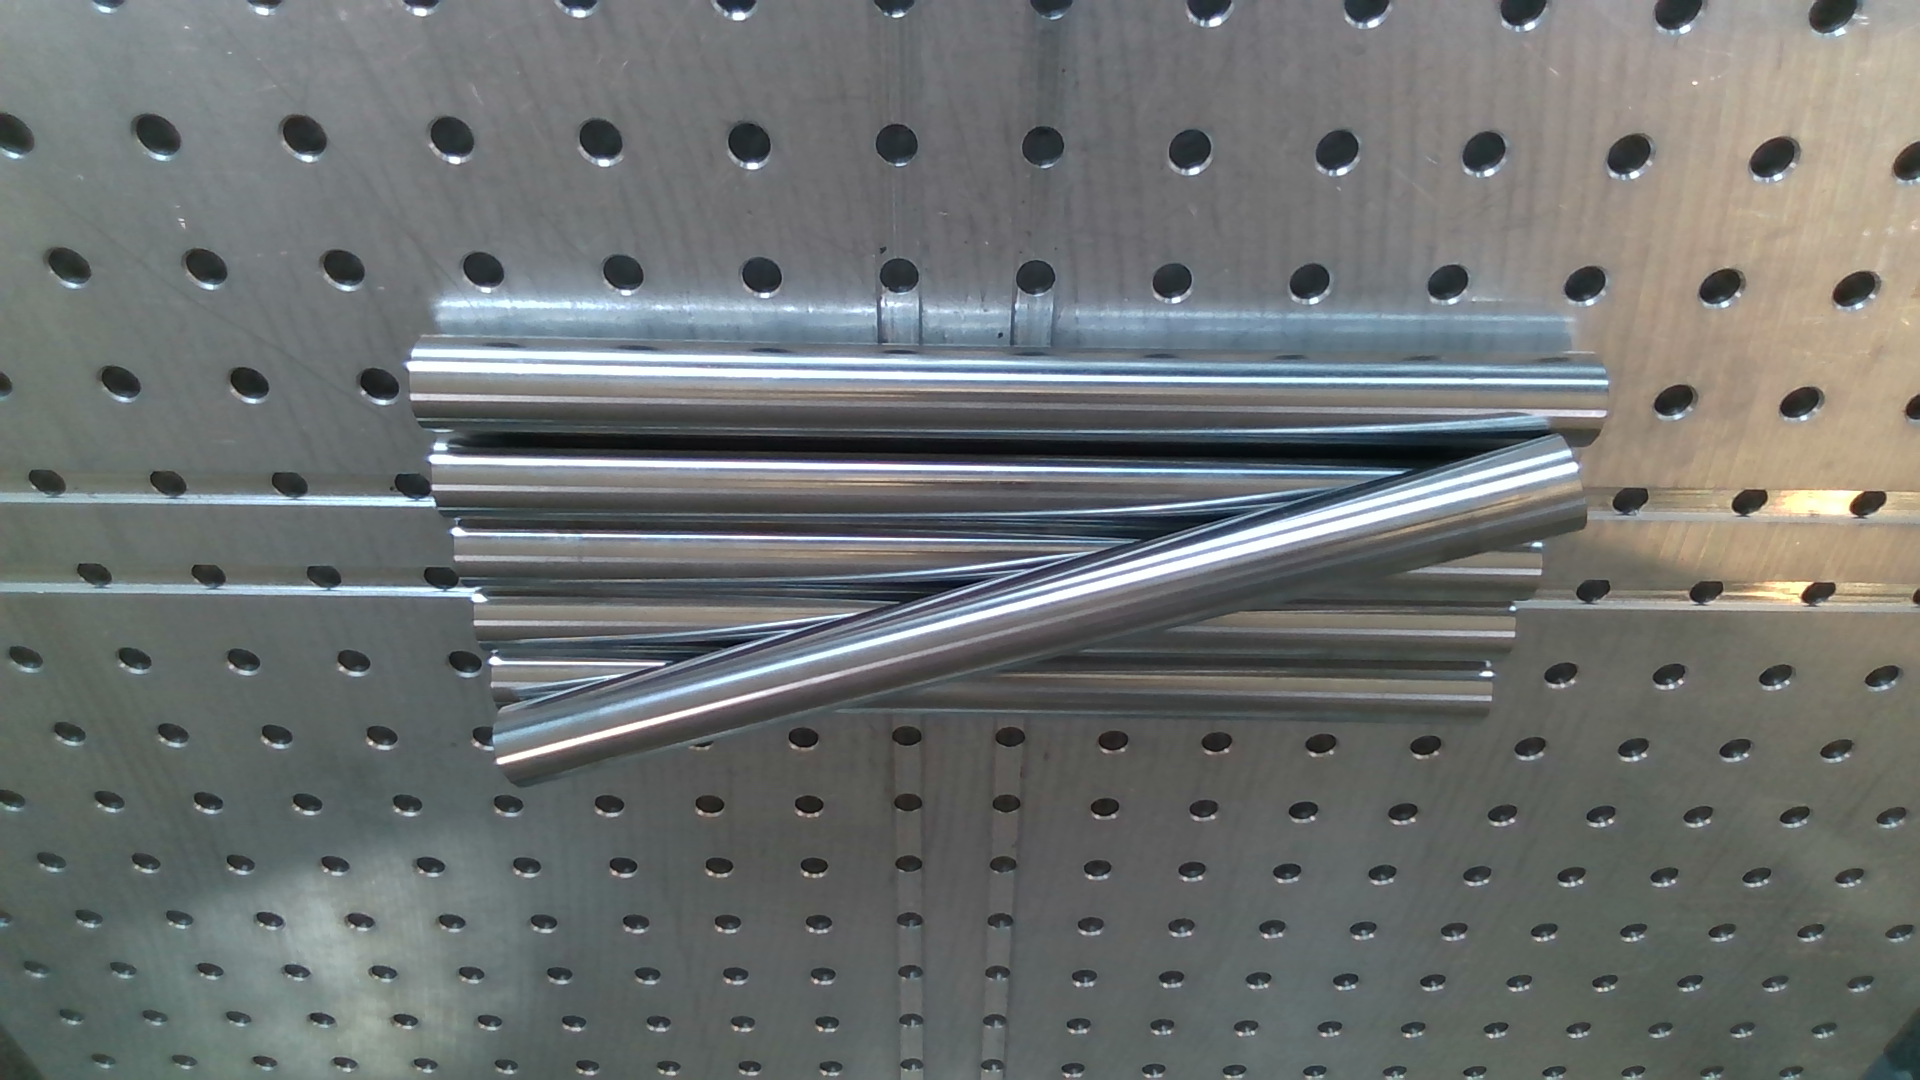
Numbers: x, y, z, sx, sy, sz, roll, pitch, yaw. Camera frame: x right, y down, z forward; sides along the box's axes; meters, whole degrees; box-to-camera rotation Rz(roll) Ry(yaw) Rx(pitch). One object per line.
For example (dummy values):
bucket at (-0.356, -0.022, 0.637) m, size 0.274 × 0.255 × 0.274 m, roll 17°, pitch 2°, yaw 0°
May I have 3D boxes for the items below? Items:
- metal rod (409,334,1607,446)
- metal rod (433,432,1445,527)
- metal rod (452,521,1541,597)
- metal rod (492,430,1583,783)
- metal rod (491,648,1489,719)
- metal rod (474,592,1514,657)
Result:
metal rod at (0.013, -0.039, 0.357) m, size 0.300 × 0.025 × 0.025 m, roll 1°, pitch 130°, yaw -1°
metal rod at (0.011, -0.016, 0.376) m, size 0.300 × 0.025 × 0.025 m, roll 1°, pitch 130°, yaw -1°
metal rod at (0.011, 0.002, 0.392) m, size 0.300 × 0.025 × 0.025 m, roll 1°, pitch 130°, yaw -1°
metal rod at (0.010, 0.022, 0.377) m, size 0.300 × 0.025 × 0.025 m, roll -15°, pitch 128°, yaw 12°
metal rod at (0.010, 0.041, 0.426) m, size 0.300 × 0.025 × 0.025 m, roll 1°, pitch 130°, yaw -1°
metal rod at (0.010, 0.021, 0.409) m, size 0.300 × 0.025 × 0.025 m, roll 1°, pitch 130°, yaw -1°
